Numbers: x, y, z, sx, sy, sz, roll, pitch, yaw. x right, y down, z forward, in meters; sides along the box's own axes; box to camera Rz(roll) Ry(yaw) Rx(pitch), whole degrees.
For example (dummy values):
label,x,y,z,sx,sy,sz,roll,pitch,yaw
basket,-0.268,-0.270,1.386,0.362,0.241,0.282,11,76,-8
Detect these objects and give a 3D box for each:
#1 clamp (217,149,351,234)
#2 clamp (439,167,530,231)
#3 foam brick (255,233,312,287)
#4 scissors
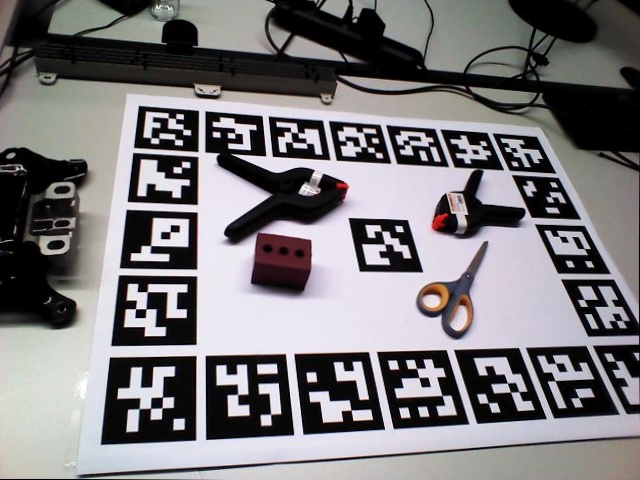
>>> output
label,x,y,z,sx,sy,sz,roll,pitch,yaw
clamp,-0.051,-0.079,0.803,0.202,0.037,0.164,-2,52,-16
clamp,0.266,-0.061,0.876,0.164,0.037,0.122,-25,71,-27
foam brick,-0.050,0.029,0.718,0.078,0.051,0.052,5,55,-5
scissors,0.222,0.057,0.782,0.088,0.016,0.201,37,53,4
